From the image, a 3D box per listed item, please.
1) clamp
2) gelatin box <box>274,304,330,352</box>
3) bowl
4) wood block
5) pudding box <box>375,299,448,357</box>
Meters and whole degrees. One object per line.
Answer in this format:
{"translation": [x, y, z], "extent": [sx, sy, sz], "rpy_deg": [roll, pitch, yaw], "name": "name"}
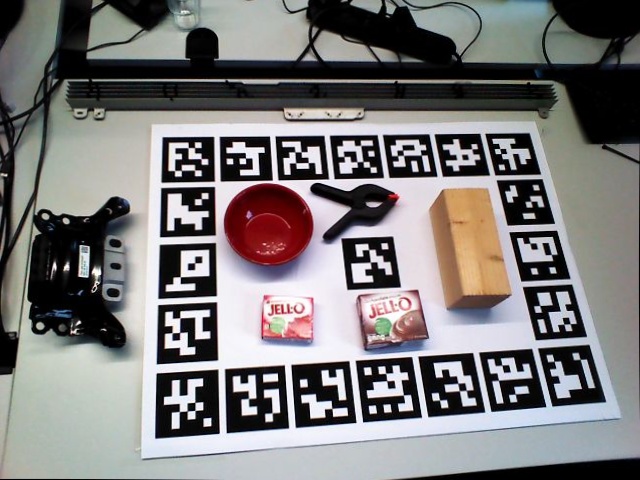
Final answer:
{"translation": [0.089, -0.050, 0.979], "extent": [0.165, 0.037, 0.121], "rpy_deg": [-12, 70, -12], "name": "clamp"}
{"translation": [-0.030, 0.150, 0.882], "extent": [0.089, 0.030, 0.073], "rpy_deg": [5, 70, -3], "name": "gelatin box"}
{"translation": [-0.068, -0.009, 0.937], "extent": [0.162, 0.055, 0.161], "rpy_deg": [2, 71, -6], "name": "bowl"}
{"translation": [0.308, 0.029, 0.929], "extent": [0.090, 0.091, 0.205], "rpy_deg": [0, 68, -6], "name": "wood block"}
{"translation": [0.156, 0.153, 0.895], "extent": [0.114, 0.039, 0.089], "rpy_deg": [-4, 73, -4], "name": "pudding box"}
